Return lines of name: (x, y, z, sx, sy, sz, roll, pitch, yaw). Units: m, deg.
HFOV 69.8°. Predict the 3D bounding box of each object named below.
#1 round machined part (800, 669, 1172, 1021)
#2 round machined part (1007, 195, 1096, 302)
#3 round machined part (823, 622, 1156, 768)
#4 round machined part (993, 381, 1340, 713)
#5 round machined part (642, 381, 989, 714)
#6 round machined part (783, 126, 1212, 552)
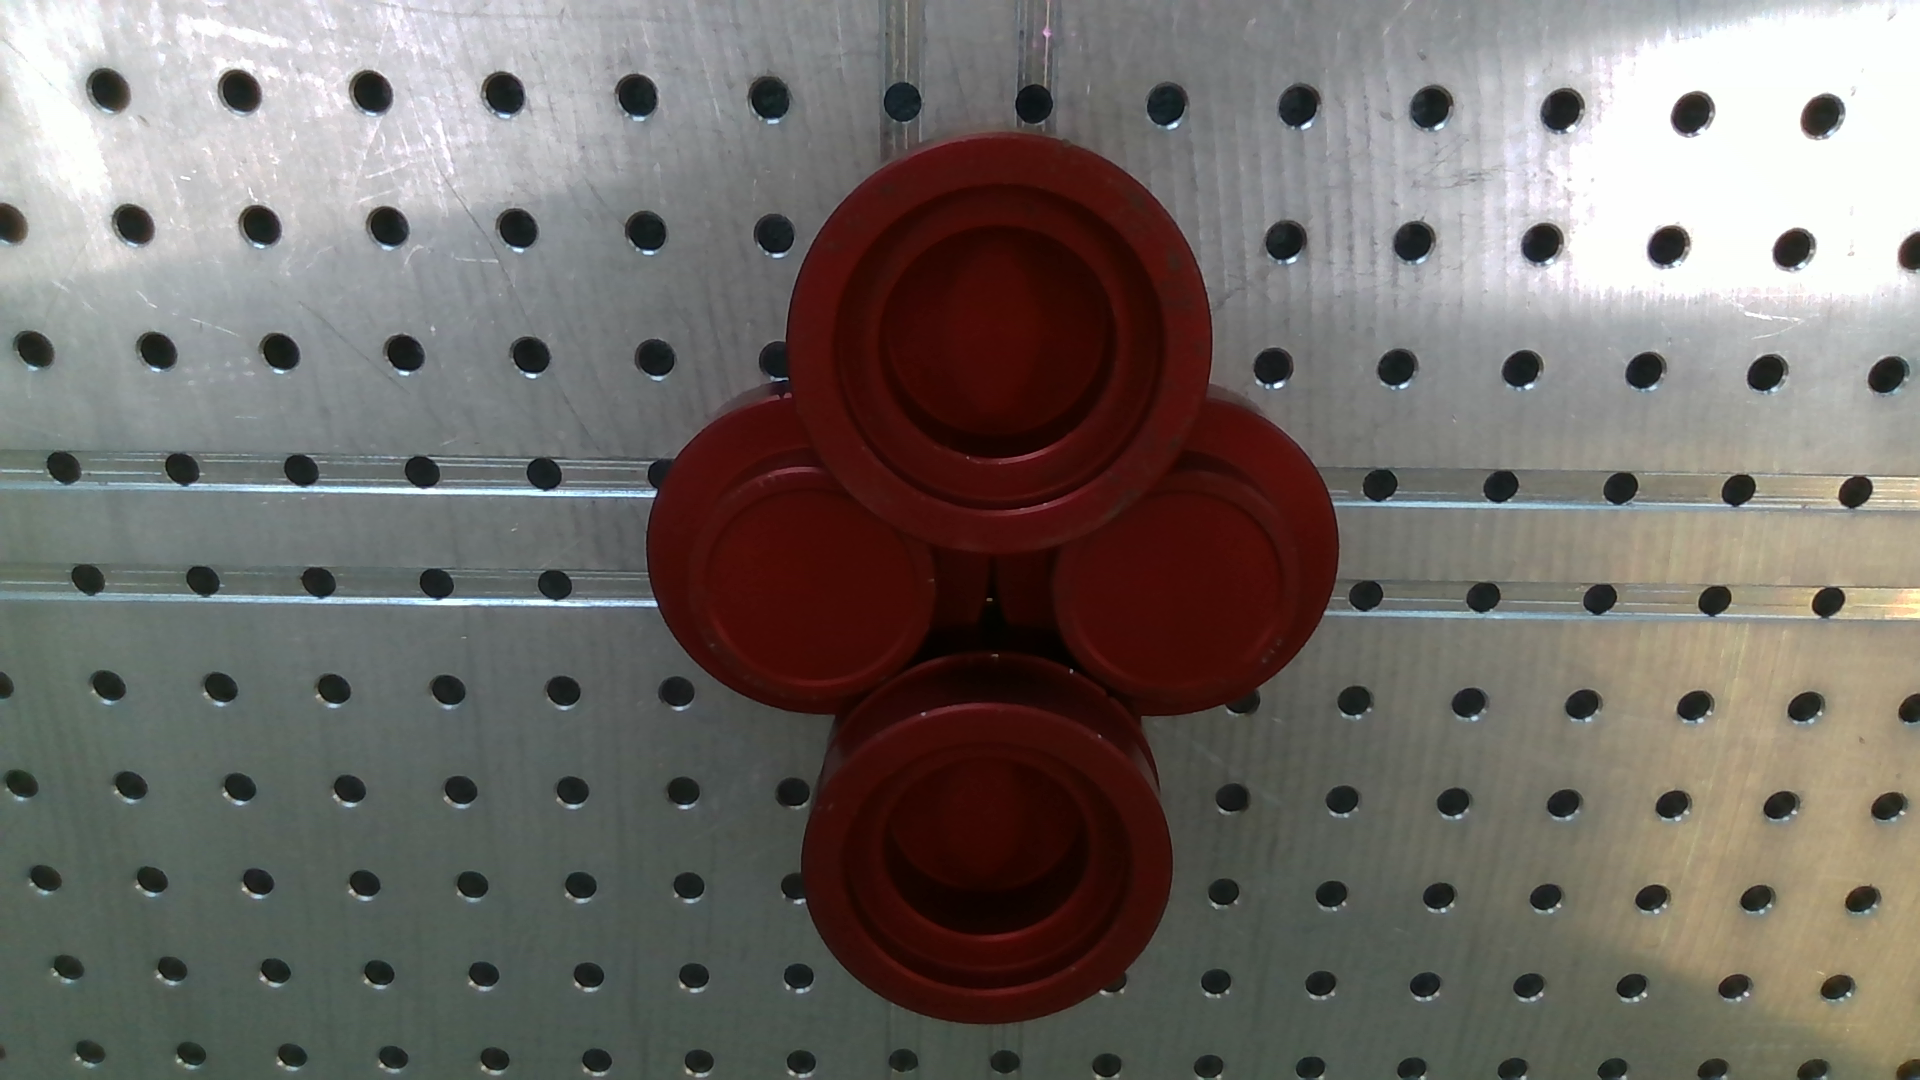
round machined part: (0.007, 0.080, 0.381, 0.098, 0.042, 0.098, 0, 110, 0)
round machined part: (0.008, -0.058, 0.365, 0.098, 0.042, 0.098, 0, 110, 0)
round machined part: (0.008, 0.069, 0.411, 0.098, 0.042, 0.098, 0, 110, 0)
round machined part: (0.058, 0.005, 0.388, 0.098, 0.042, 0.098, 0, 110, 0)
round machined part: (-0.041, 0.005, 0.388, 0.098, 0.042, 0.098, 0, 110, 0)
round machined part: (0.009, -0.050, 0.333, 0.098, 0.042, 0.098, 0, 110, 0)
